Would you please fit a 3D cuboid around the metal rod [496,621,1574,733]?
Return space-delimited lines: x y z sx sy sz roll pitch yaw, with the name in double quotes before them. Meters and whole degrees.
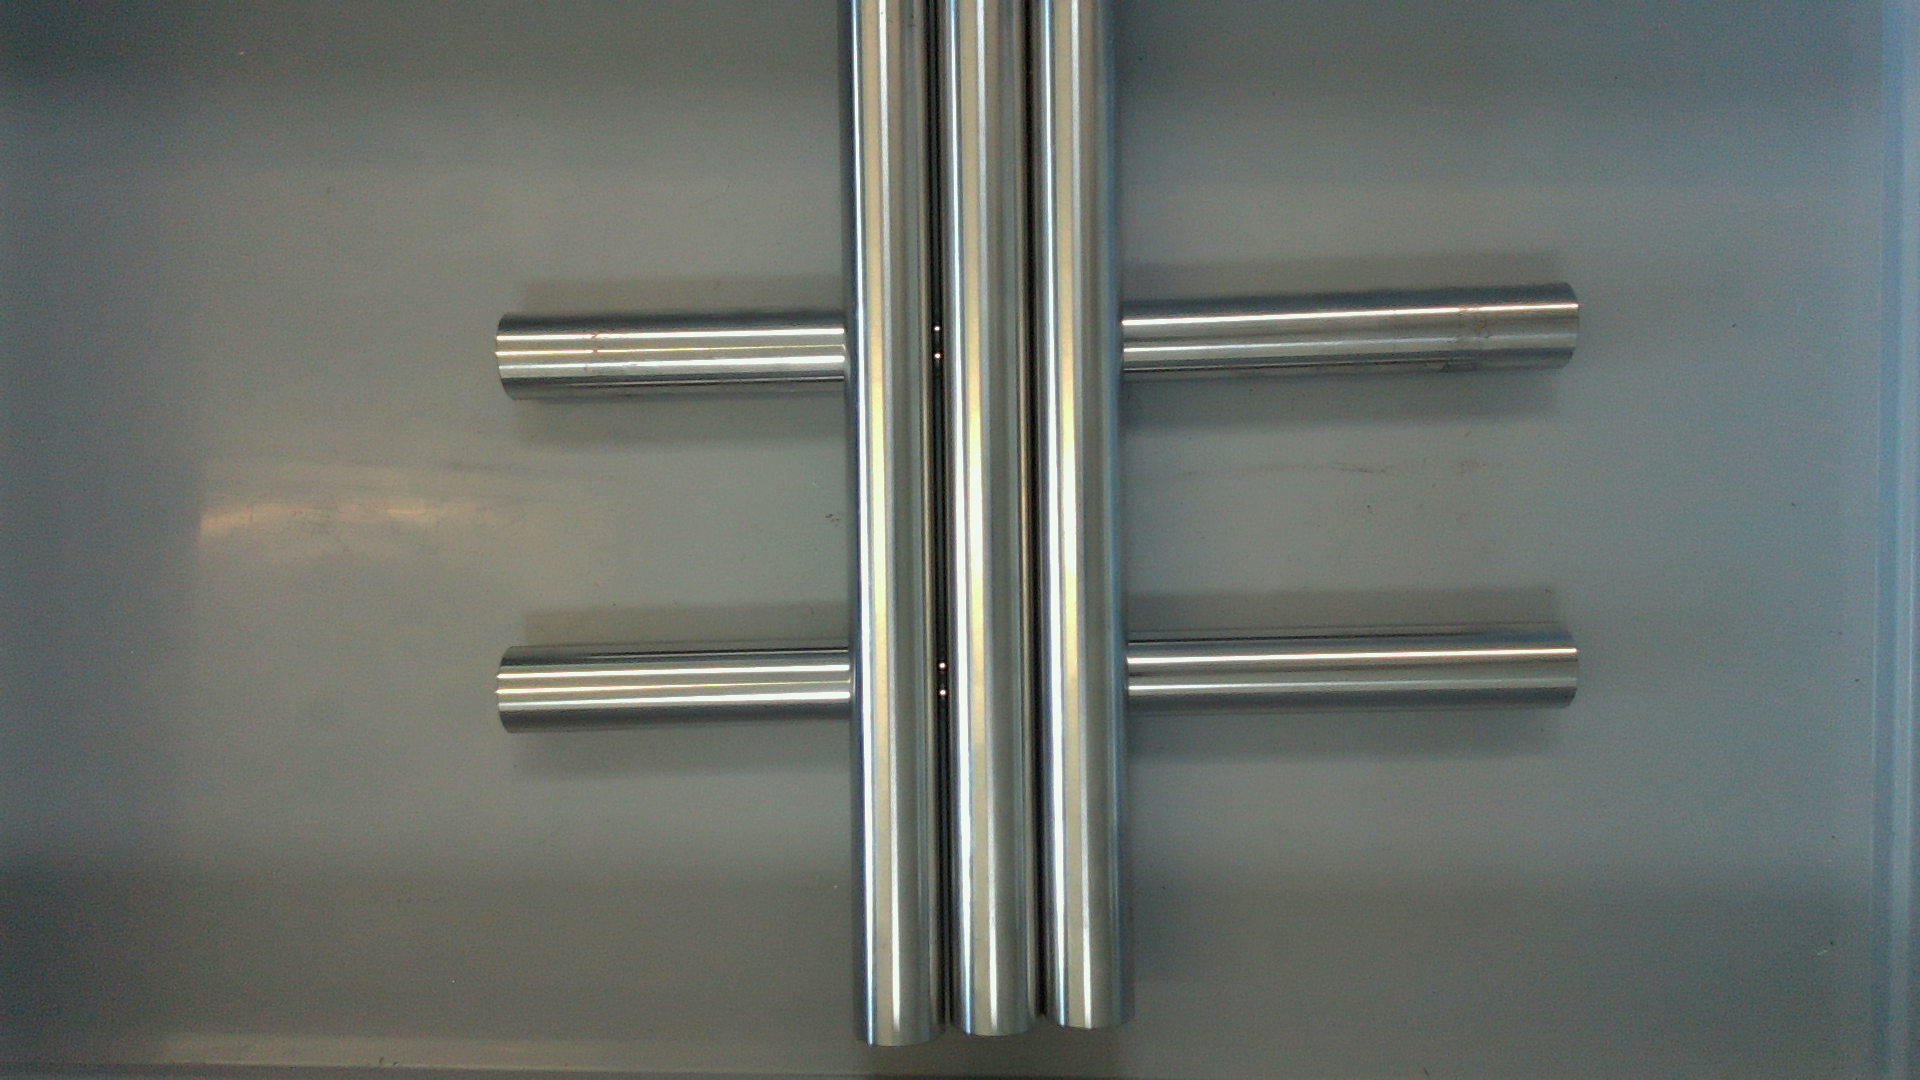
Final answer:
"metal rod" 0.021 0.039 0.395 0.300 0.025 0.025 -1 90 0

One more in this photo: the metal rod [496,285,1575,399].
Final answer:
"metal rod" 0.021 -0.057 0.394 0.300 0.025 0.025 -2 90 0

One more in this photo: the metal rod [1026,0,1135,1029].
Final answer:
"metal rod" 0.032 -0.023 0.368 0.025 0.025 0.300 -1 90 0

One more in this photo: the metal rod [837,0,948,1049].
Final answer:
"metal rod" -0.018 -0.018 0.368 0.025 0.025 0.300 -1 90 0

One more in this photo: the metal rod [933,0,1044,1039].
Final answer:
"metal rod" 0.007 -0.021 0.368 0.025 0.025 0.300 -1 90 0
